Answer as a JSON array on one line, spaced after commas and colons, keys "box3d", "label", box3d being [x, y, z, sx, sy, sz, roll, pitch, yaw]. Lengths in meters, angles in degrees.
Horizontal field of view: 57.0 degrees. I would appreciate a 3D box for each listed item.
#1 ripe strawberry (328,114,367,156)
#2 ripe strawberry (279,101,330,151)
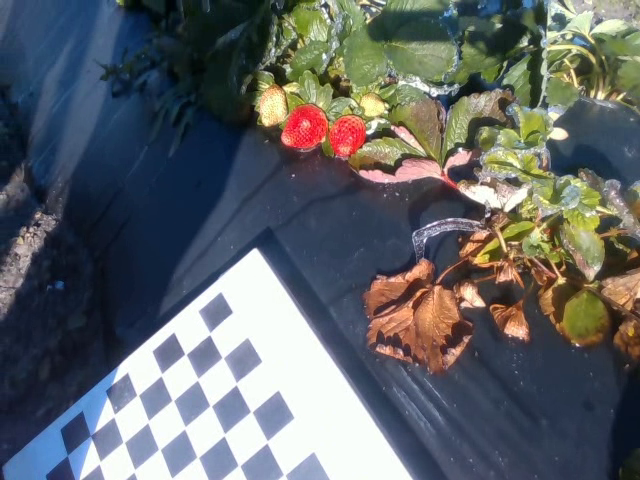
[{"box3d": [0.023, -0.084, 0.476, 0.036, 0.041, 0.030, -17, -35, 19], "label": "ripe strawberry"}, {"box3d": [-0.017, -0.087, 0.477, 0.036, 0.040, 0.052, 7, 33, 28], "label": "ripe strawberry"}]
